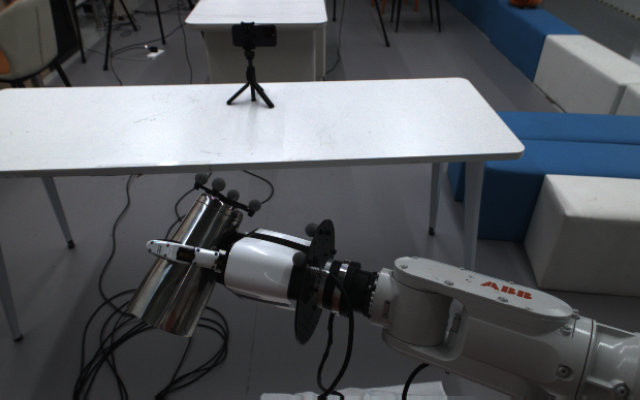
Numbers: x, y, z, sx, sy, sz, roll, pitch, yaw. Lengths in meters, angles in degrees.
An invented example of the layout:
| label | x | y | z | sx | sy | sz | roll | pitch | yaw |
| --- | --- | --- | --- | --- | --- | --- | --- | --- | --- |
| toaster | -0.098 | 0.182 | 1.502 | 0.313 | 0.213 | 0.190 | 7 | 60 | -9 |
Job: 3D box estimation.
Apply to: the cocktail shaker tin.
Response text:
| label | x | y | z | sx | sy | sz | roll | pitch | yaw |
| --- | --- | --- | --- | --- | --- | --- | --- | --- | --- |
| cocktail shaker tin | -0.169 | 0.082 | 0.637 | 0.093 | 0.093 | 0.170 | 21 | 81 | 25 |
